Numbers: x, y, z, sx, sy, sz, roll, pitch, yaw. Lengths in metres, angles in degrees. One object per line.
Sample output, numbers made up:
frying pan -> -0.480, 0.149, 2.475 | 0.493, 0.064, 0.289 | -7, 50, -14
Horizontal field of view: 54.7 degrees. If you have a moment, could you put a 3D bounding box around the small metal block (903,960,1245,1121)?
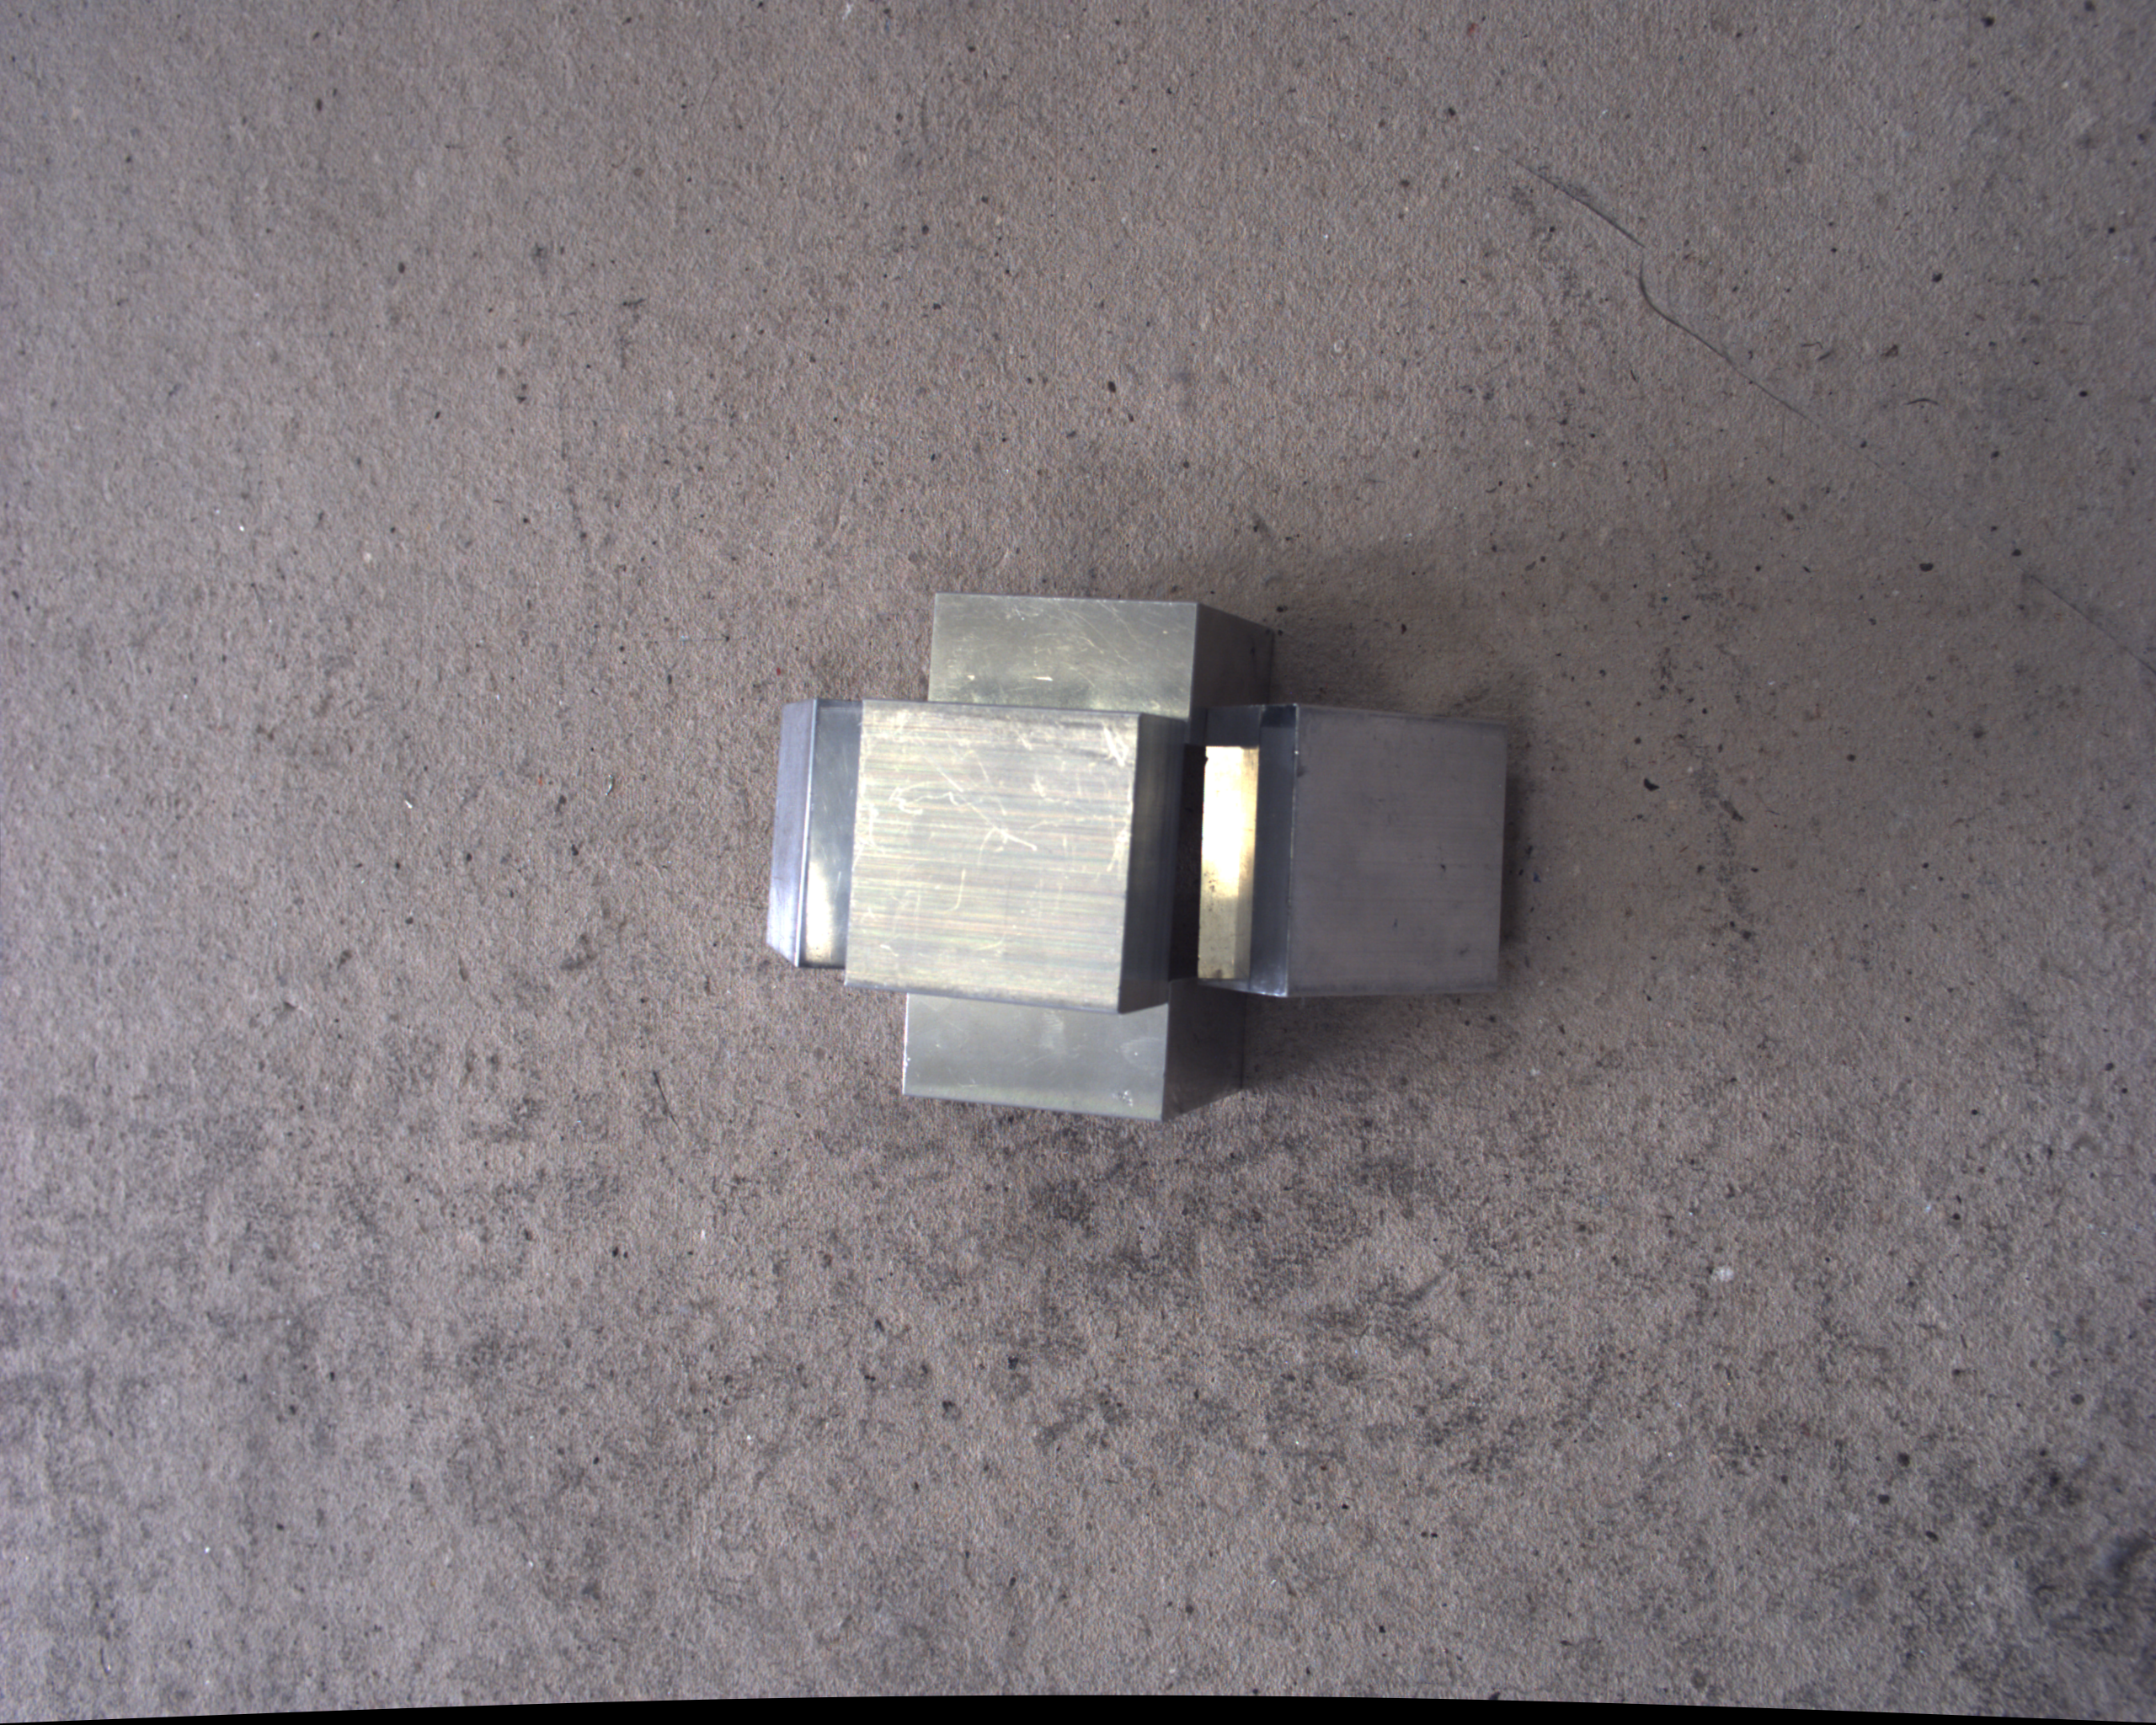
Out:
small metal block -> 0.001, 0.031, 0.397 | 0.050, 0.050, 0.025 | 3, 92, 20

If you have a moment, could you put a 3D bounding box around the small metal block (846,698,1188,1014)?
small metal block -> -0.010, -0.002, 0.361 | 0.050, 0.025, 0.050 | 4, 92, 20

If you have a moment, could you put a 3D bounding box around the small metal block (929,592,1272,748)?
small metal block -> 0.005, -0.035, 0.395 | 0.050, 0.050, 0.025 | 5, 92, 20

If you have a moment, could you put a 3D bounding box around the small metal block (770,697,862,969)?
small metal block -> -0.044, -0.006, 0.411 | 0.025, 0.050, 0.050 | 4, 92, -15

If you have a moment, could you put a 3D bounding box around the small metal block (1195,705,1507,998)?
small metal block -> 0.050, -0.002, 0.377 | 0.025, 0.050, 0.050 | 3, 92, 55
